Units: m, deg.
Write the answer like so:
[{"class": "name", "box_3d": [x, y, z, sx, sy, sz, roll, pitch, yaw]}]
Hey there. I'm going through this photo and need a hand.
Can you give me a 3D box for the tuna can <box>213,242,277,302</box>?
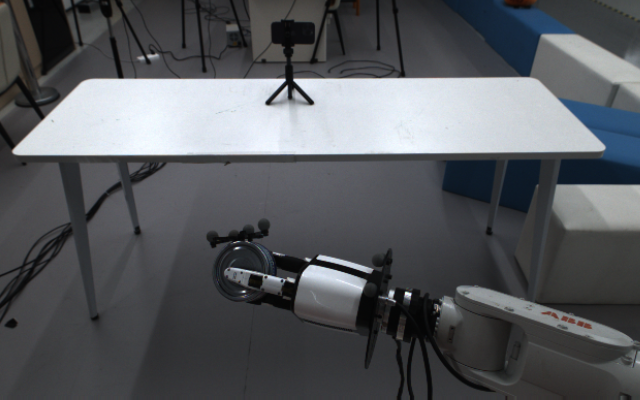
[{"class": "tuna can", "box_3d": [-0.103, 0.106, 0.675, 0.085, 0.085, 0.034, 12, -6, 14]}]
